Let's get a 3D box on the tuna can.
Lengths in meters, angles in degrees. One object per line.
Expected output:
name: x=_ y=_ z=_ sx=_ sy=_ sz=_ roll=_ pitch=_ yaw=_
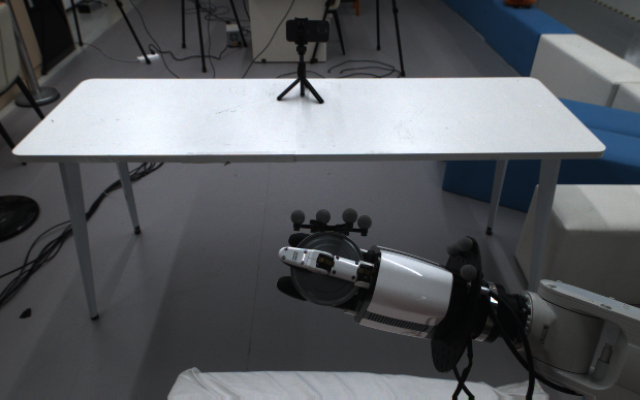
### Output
tuna can: x=0.011 y=0.084 z=0.560 sx=0.085 sy=0.034 sz=0.085 roll=0 pitch=74 yaw=0
